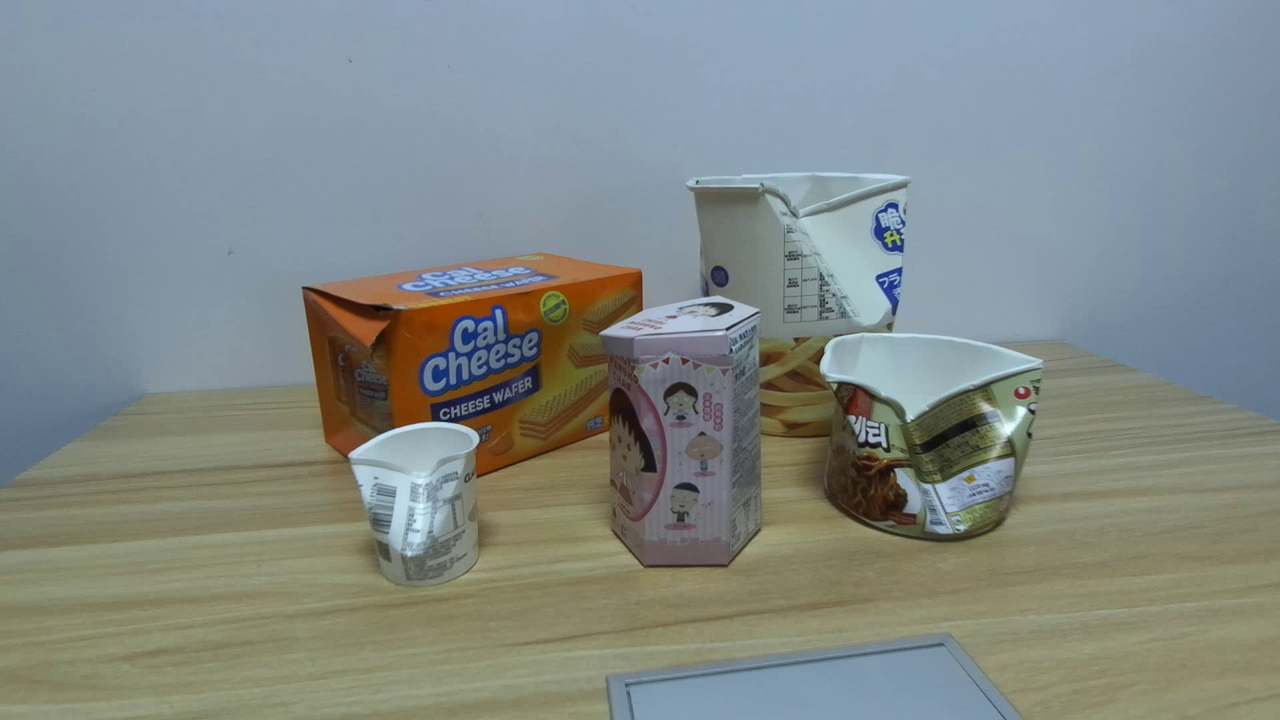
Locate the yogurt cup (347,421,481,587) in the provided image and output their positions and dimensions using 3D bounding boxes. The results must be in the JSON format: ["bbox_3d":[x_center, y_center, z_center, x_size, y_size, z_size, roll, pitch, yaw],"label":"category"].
[{"bbox_3d":[-0.119,0.078,0.390,0.067,0.070,0.067,-2,17,1],"label":"yogurt cup"}]

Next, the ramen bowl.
[{"bbox_3d":[0.179,0.042,0.454,0.137,0.098,0.137,0,16,0],"label":"ramen bowl"}]

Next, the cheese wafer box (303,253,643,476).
[{"bbox_3d":[-0.124,-0.005,0.560,0.228,0.137,0.149,-16,23,-41],"label":"cheese wafer box"}]

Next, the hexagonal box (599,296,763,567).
[{"bbox_3d":[0.027,0.038,0.404,0.085,0.135,0.091,-10,19,-23],"label":"hexagonal box"}]

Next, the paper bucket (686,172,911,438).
[{"bbox_3d":[0.123,-0.050,0.583,0.168,0.202,0.163,5,20,26],"label":"paper bucket"}]
